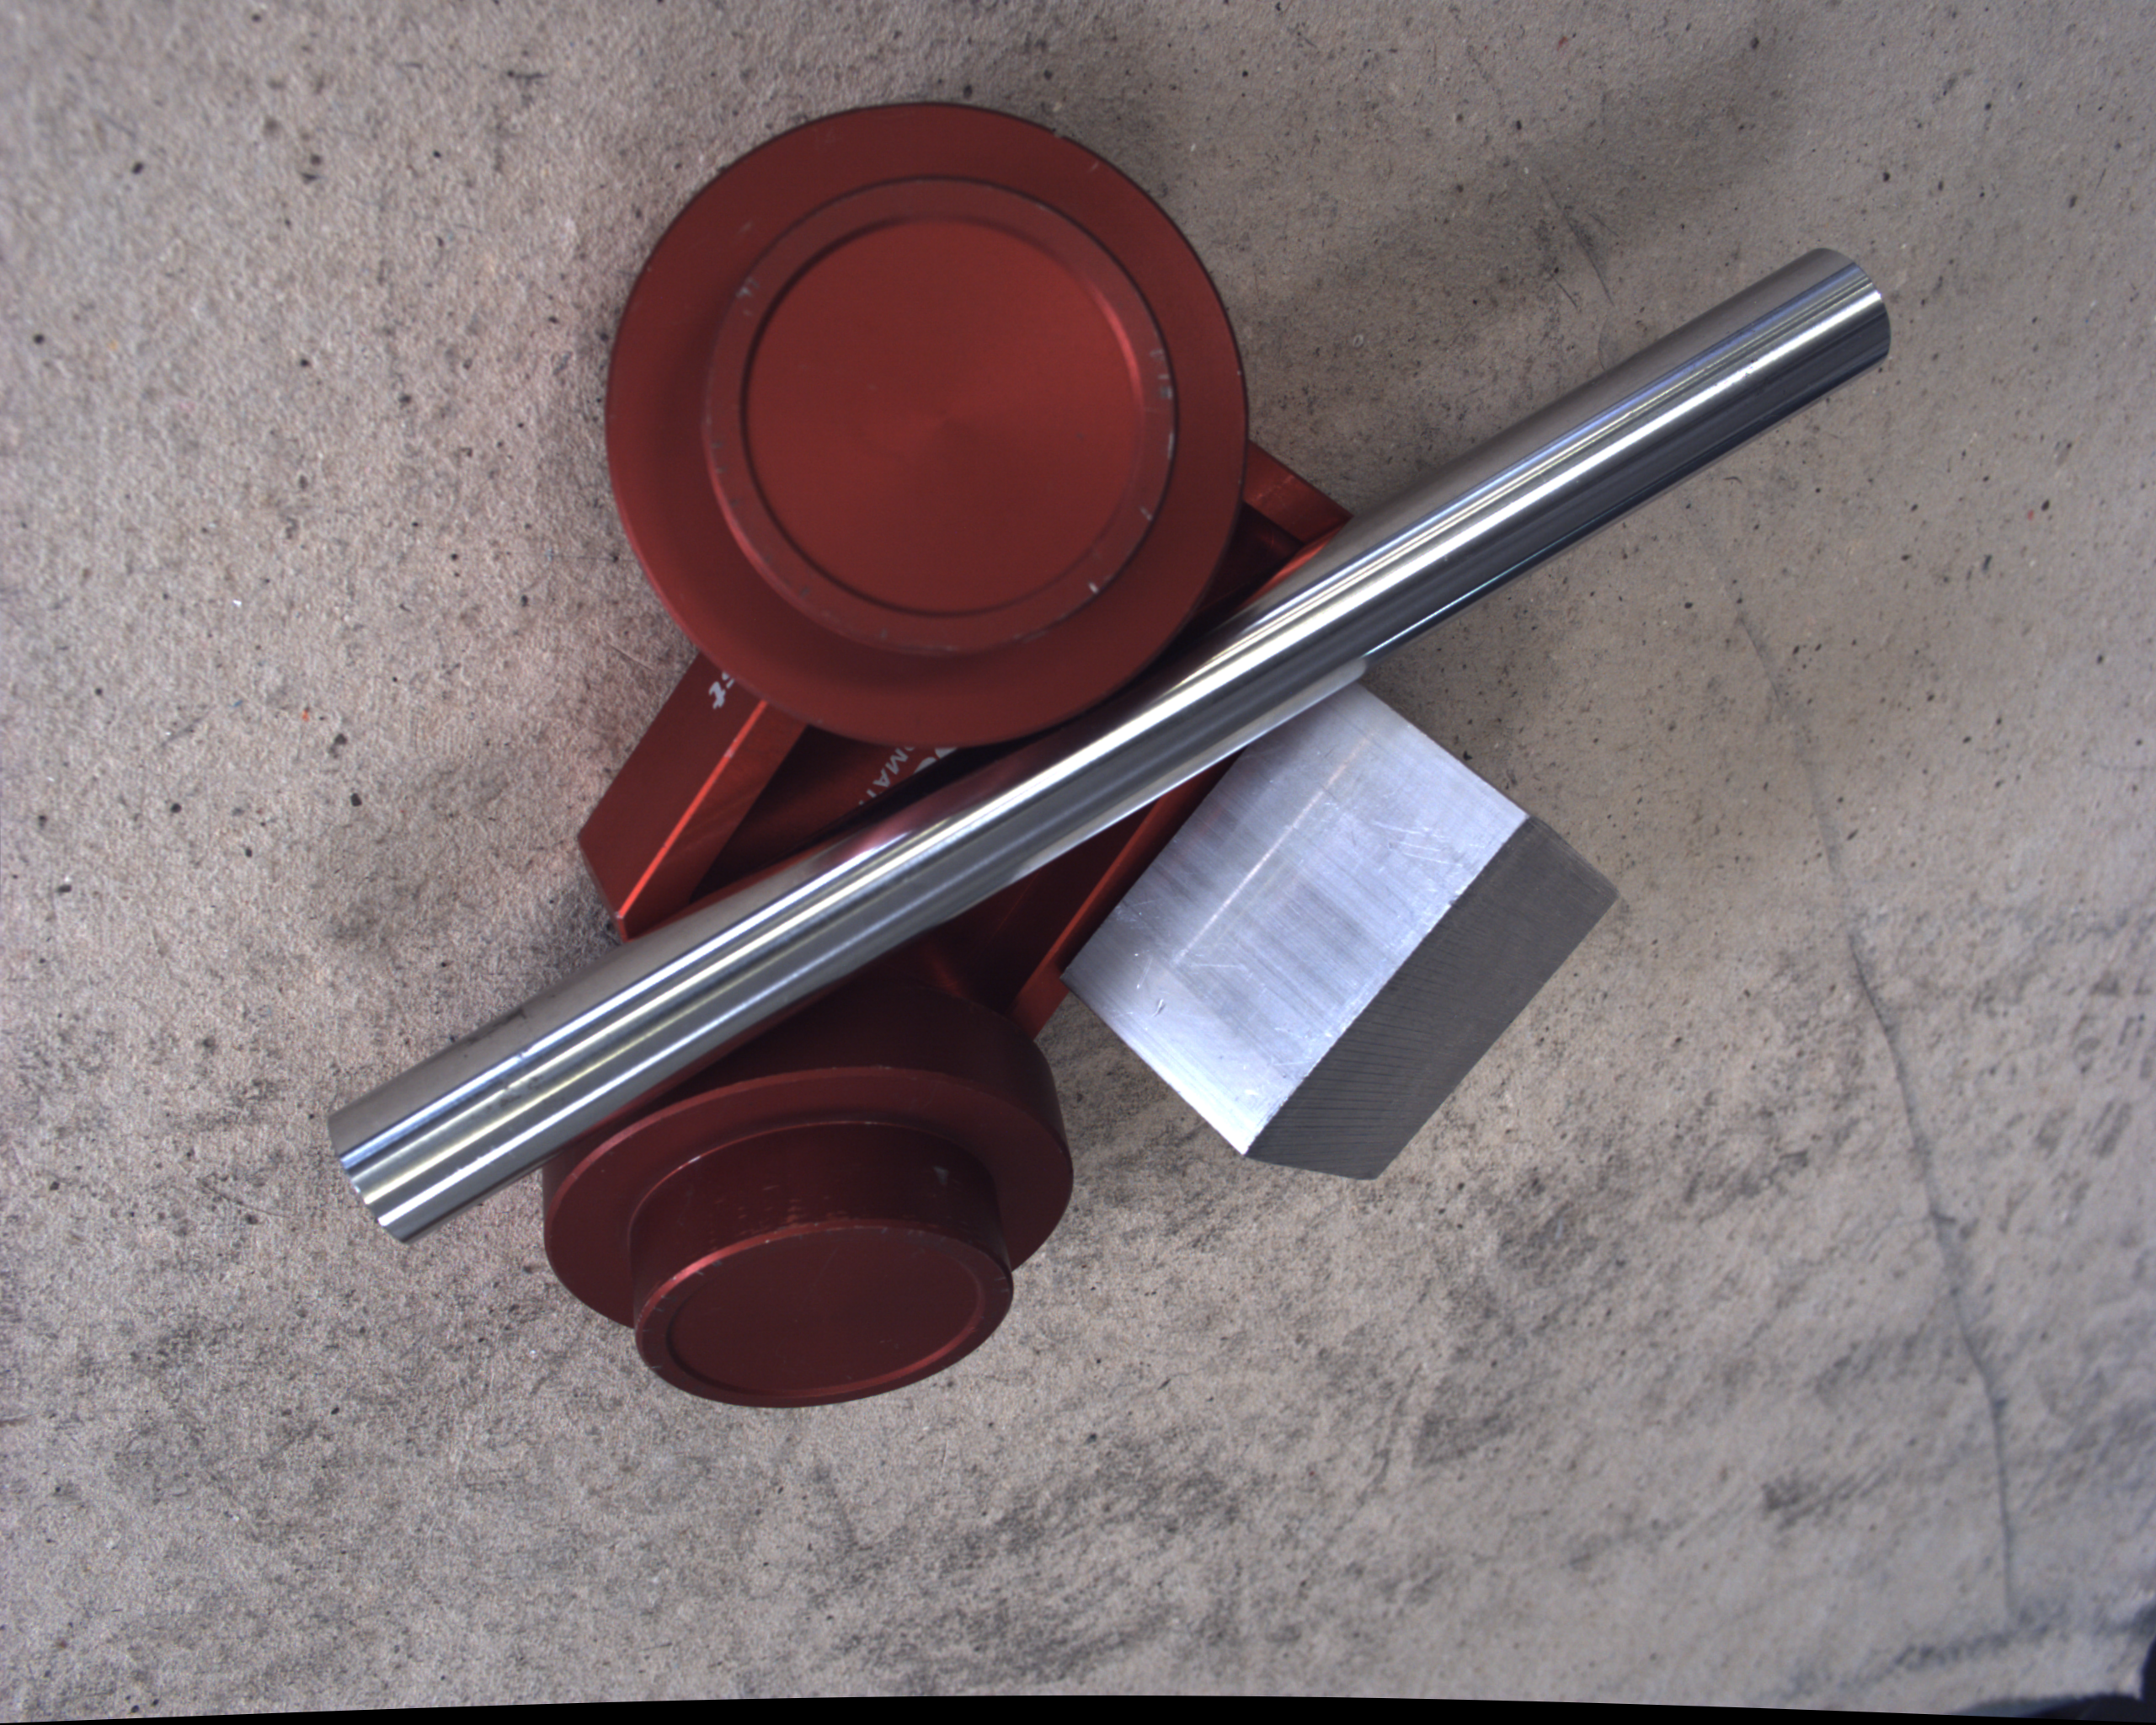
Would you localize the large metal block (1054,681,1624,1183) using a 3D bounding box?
[{"bbox_3d":[0.054,0.014,0.412,0.080,0.050,0.080,-51,153,7],"label":"large metal block"}]

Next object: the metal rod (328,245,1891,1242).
[{"bbox_3d":[0.013,-0.026,0.362,0.301,0.025,0.025,-31,129,-9],"label":"metal rod"}]

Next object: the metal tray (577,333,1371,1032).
[{"bbox_3d":[-0.017,-0.029,0.378,0.090,0.030,0.130,27,103,-38],"label":"metal tray"}]

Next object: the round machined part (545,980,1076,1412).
[{"bbox_3d":[-0.048,0.068,0.391,0.099,0.042,0.097,-9,140,-7],"label":"round machined part"}]

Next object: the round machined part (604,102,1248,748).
[{"bbox_3d":[-0.022,-0.066,0.318,0.099,0.042,0.097,-1,97,-8],"label":"round machined part"}]
